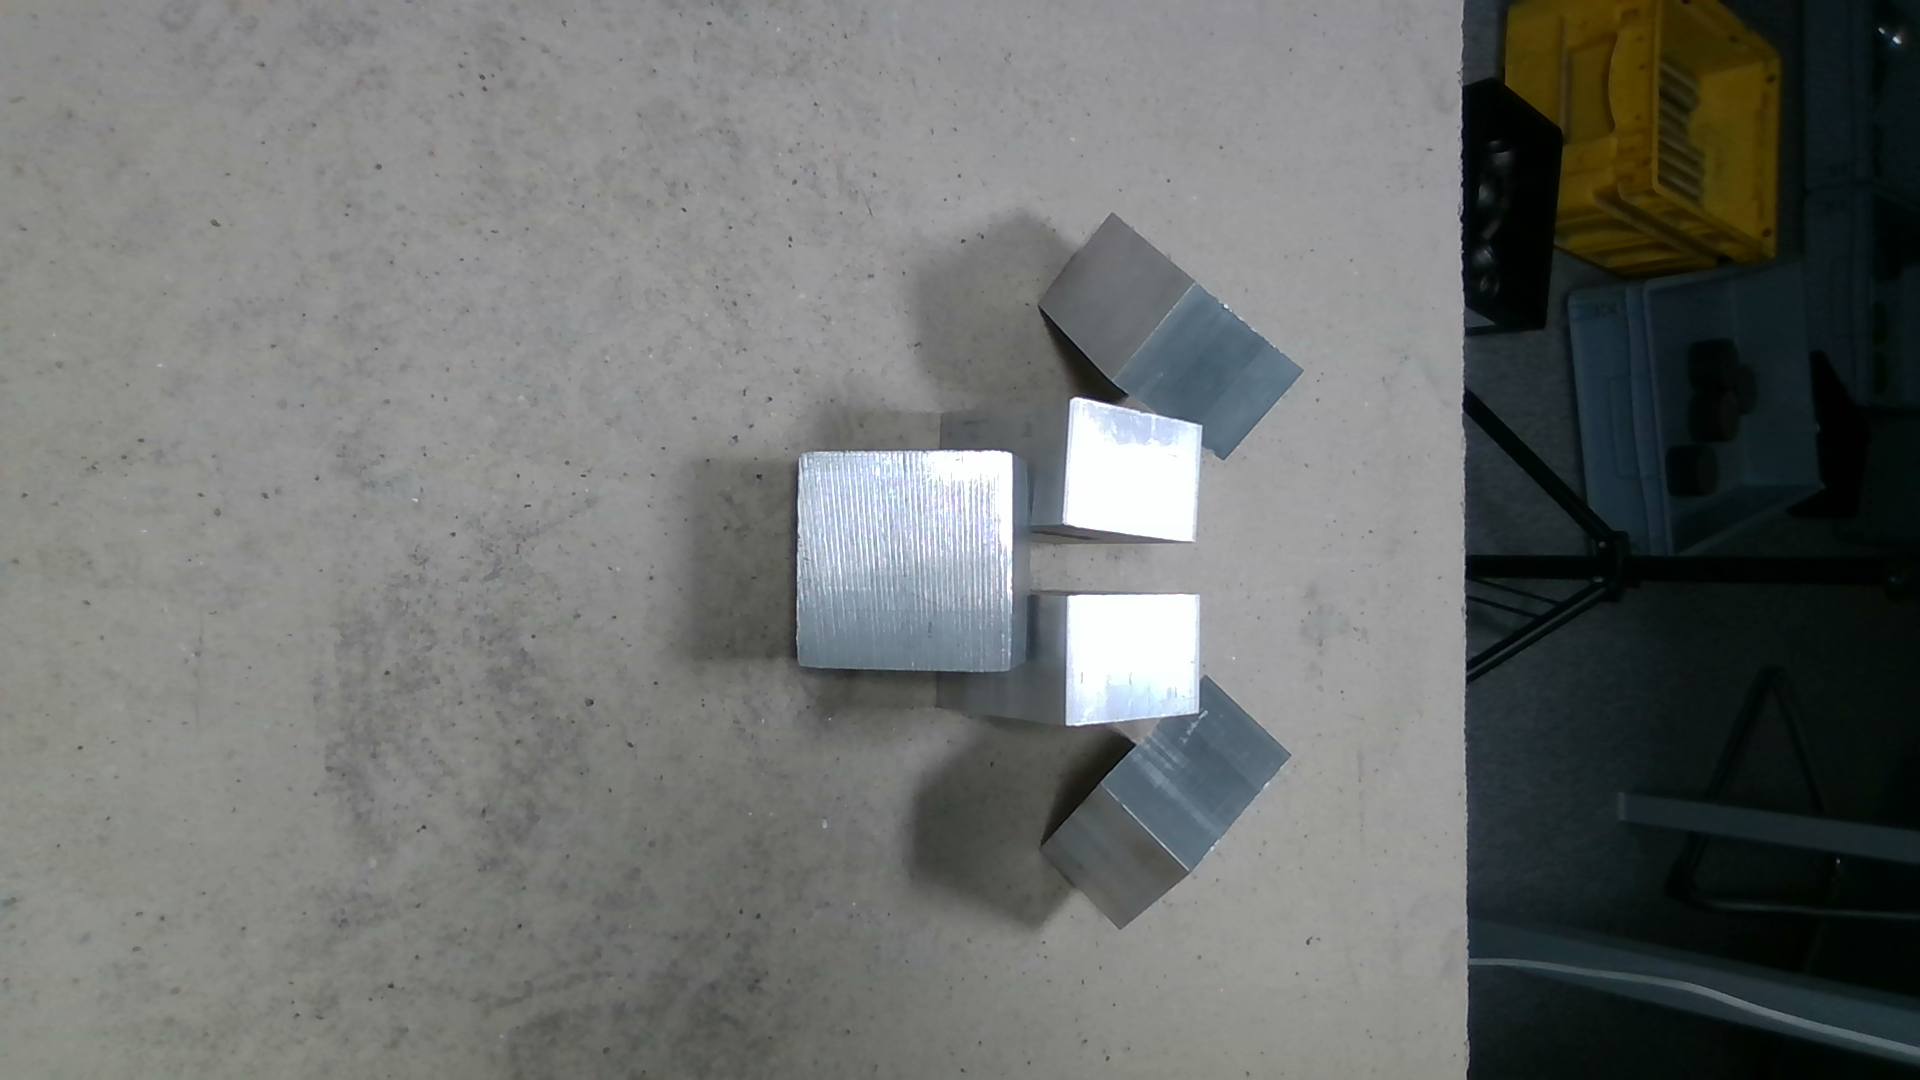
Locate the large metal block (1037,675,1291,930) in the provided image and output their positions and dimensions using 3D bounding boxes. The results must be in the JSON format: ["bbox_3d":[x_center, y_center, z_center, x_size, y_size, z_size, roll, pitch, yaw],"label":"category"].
[{"bbox_3d":[0.090,0.117,0.615,0.050,0.080,0.080,44,55,11],"label":"large metal block"}]

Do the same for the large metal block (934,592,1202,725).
[{"bbox_3d":[0.046,0.047,0.586,0.080,0.080,0.050,1,89,-40],"label":"large metal block"}]

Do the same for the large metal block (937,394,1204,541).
[{"bbox_3d":[0.046,-0.028,0.586,0.080,0.080,0.050,6,86,-40],"label":"large metal block"}]

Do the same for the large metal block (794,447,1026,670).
[{"bbox_3d":[-0.017,0.007,0.525,0.050,0.080,0.080,4,87,-79],"label":"large metal block"}]

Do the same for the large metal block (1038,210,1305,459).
[{"bbox_3d":[0.093,-0.092,0.614,0.080,0.080,0.050,29,108,-37],"label":"large metal block"}]
